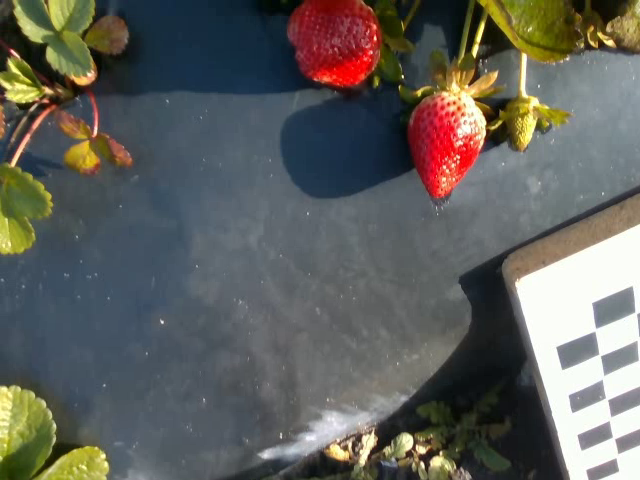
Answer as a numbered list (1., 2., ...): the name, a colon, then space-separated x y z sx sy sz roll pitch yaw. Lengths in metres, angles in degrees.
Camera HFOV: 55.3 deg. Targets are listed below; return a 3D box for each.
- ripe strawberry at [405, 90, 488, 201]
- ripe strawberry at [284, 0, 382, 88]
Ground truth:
1. ripe strawberry: 0.060 -0.045 0.286 0.043 0.053 0.038 13 -12 -20
2. ripe strawberry: 0.008 -0.092 0.286 0.054 0.048 0.039 -25 37 -25
